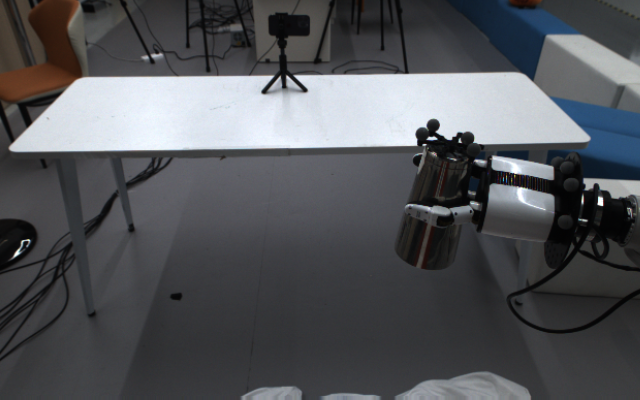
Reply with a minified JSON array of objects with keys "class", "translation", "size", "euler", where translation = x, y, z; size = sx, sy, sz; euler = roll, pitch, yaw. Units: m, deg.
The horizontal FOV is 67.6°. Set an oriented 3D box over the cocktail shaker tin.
[{"class":"cocktail shaker tin","translation":[0.166,0.003,0.689],"size":[0.093,0.170,0.093],"euler":[4,32,-2]}]
